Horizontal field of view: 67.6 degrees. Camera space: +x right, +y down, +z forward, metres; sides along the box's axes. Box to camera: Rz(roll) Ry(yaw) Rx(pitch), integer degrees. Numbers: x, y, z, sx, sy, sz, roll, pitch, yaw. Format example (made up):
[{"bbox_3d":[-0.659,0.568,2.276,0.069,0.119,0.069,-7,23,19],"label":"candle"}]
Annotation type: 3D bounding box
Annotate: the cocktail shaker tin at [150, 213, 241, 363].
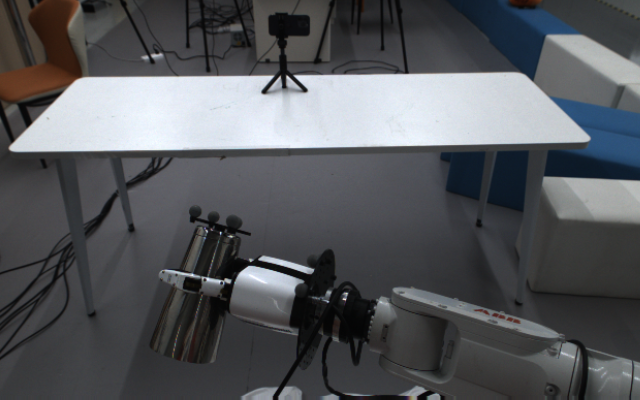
[{"bbox_3d":[-0.166,0.126,0.667,0.093,0.170,0.093,16,-7,2],"label":"cocktail shaker tin"}]
